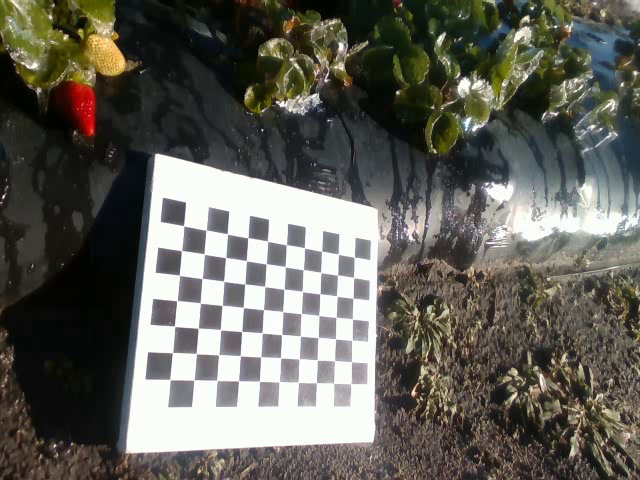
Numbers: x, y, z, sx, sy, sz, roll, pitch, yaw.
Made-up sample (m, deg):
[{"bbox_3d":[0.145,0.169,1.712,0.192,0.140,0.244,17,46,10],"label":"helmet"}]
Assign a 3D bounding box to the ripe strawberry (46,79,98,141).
[{"bbox_3d":[-0.207,-0.116,0.553,0.042,0.052,0.040,-11,-9,-40],"label":"ripe strawberry"}]
